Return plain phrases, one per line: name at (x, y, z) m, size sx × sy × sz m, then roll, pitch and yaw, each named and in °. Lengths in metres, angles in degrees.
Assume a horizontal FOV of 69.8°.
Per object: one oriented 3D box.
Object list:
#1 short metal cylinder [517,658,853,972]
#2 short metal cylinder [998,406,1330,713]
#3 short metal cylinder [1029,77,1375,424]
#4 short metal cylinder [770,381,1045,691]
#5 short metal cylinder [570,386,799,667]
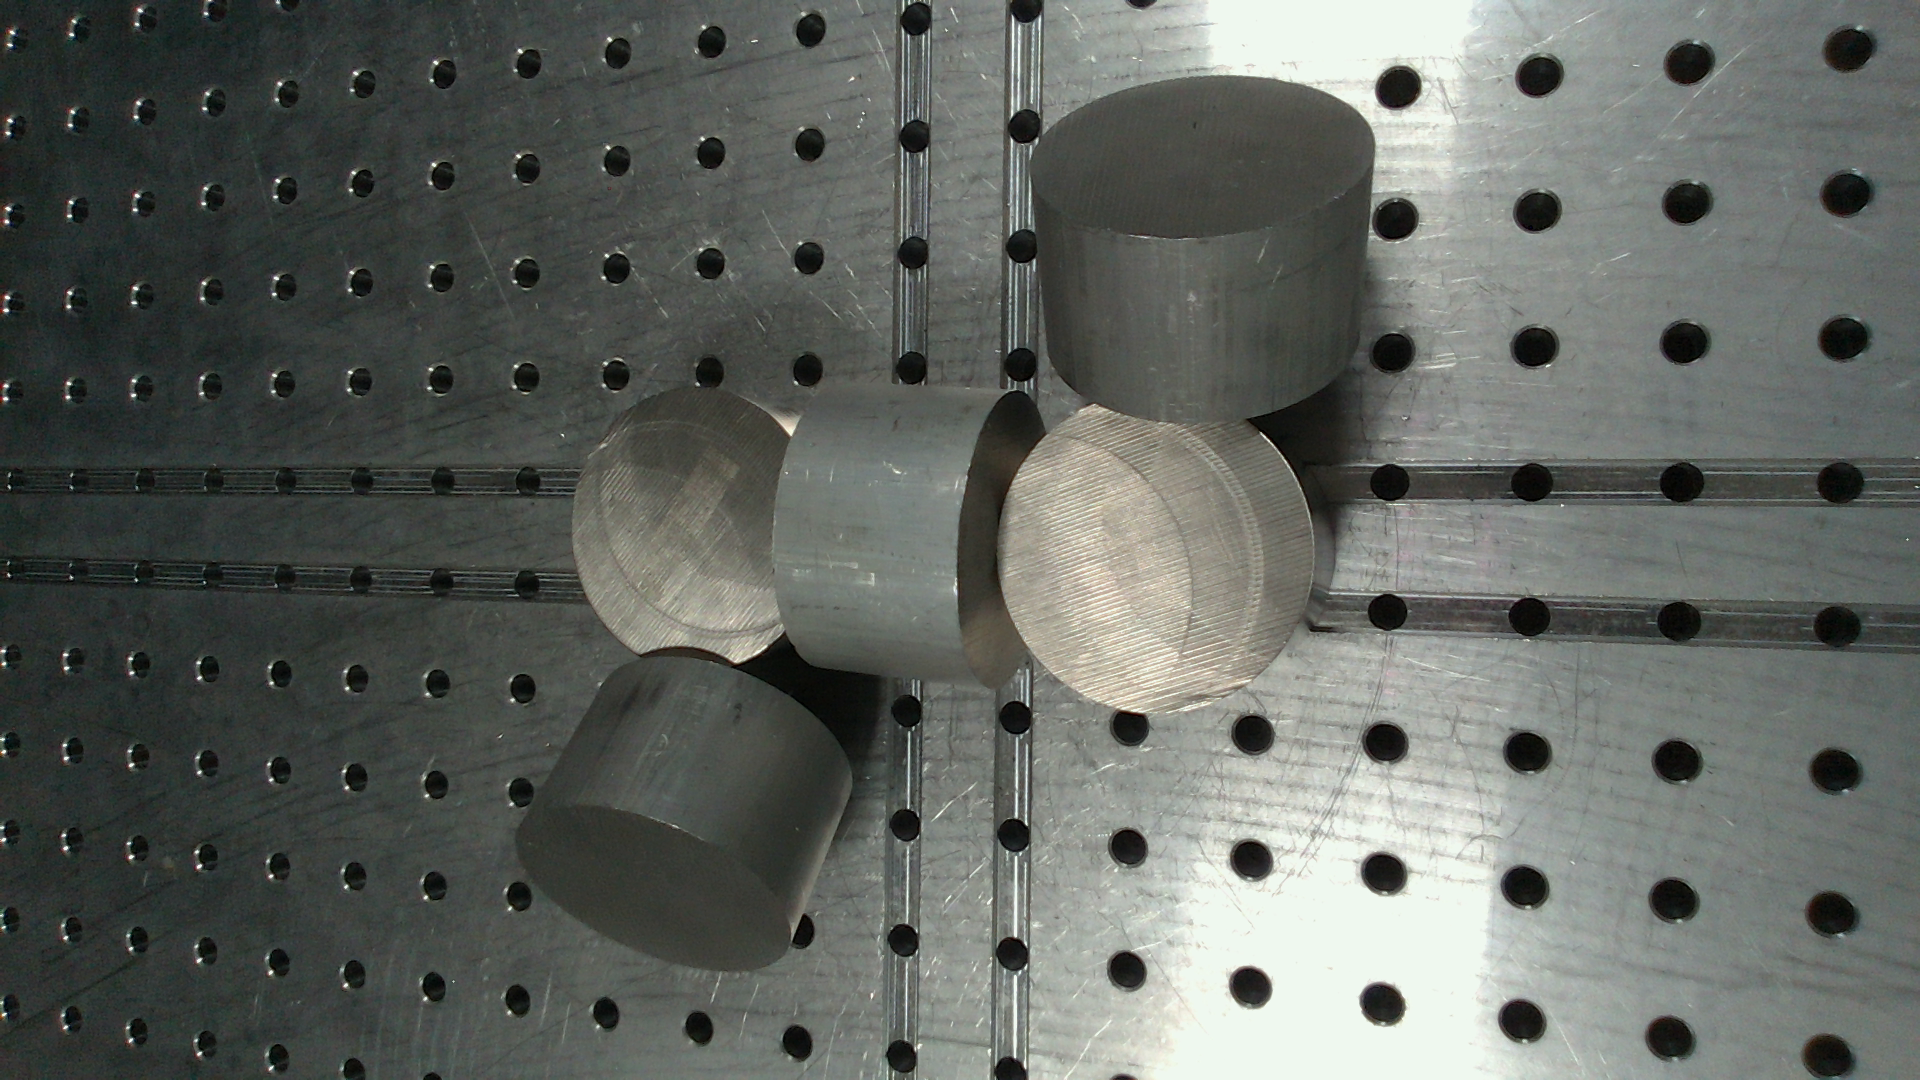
short metal cylinder at (-0.076, 0.079, 0.391) m, size 0.080 × 0.050 × 0.080 m, roll 11°, pitch 137°, yaw 11°
short metal cylinder at (0.056, 0.003, 0.364) m, size 0.080 × 0.050 × 0.080 m, roll 0°, pitch 90°, yaw 20°
short metal cylinder at (0.059, -0.073, 0.340) m, size 0.080 × 0.080 × 0.050 m, roll 9°, pitch 135°, yaw 20°
short metal cylinder at (-0.010, -0.002, 0.373) m, size 0.050 × 0.080 × 0.080 m, roll 5°, pitch 92°, yaw 20°
short metal cylinder at (-0.067, -0.003, 0.408) m, size 0.080 × 0.050 × 0.080 m, roll 0°, pitch 90°, yaw 20°
